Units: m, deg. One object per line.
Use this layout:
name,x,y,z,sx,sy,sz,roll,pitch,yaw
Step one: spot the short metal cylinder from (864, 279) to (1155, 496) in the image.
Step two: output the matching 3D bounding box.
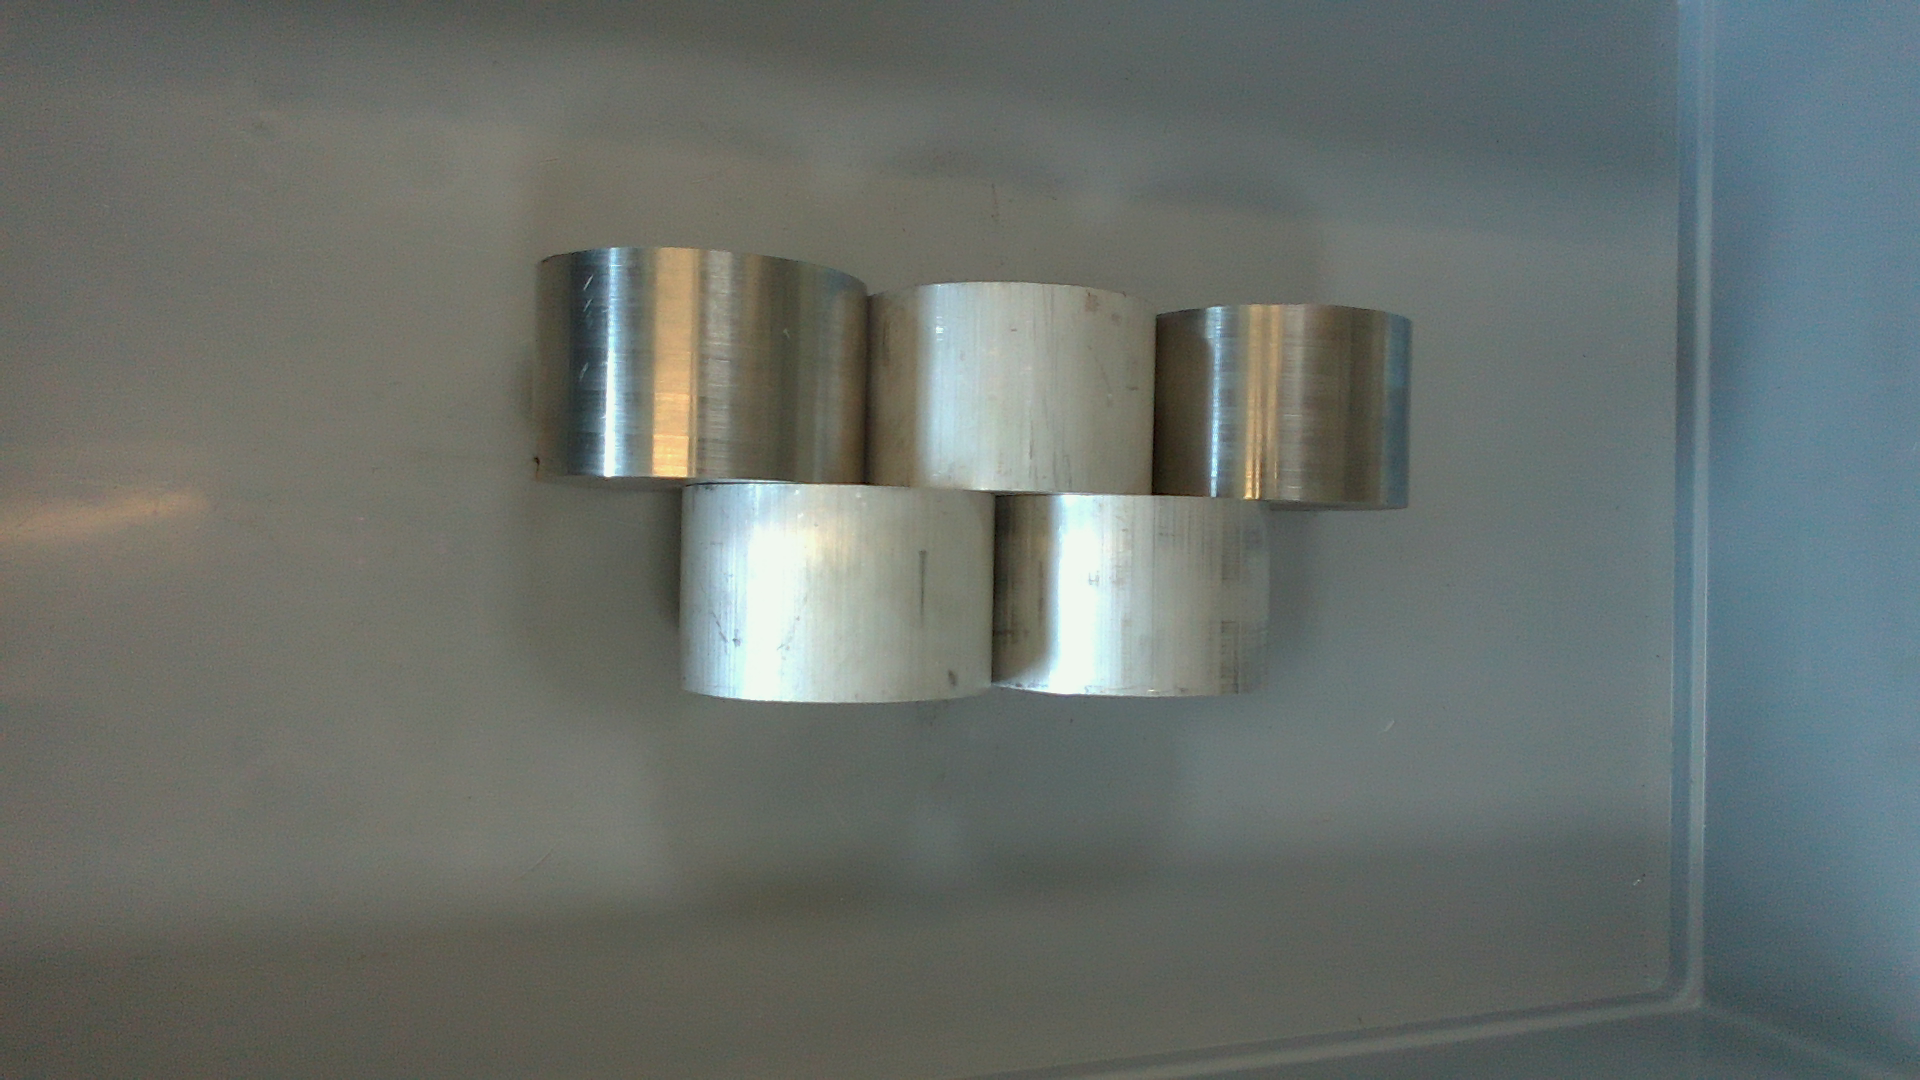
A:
short metal cylinder,0.012,-0.037,0.367,0.080,0.080,0.050,1,90,-20

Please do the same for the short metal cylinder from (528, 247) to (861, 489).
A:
short metal cylinder,-0.064,-0.039,0.339,0.080,0.080,0.050,1,90,-20

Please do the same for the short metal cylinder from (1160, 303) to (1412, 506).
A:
short metal cylinder,0.087,-0.036,0.395,0.080,0.080,0.050,2,90,-20

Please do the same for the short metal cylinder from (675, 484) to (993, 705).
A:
short metal cylinder,-0.032,0.012,0.351,0.080,0.080,0.050,1,90,-20

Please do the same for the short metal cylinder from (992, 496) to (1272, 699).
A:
short metal cylinder,0.045,0.014,0.379,0.080,0.080,0.050,1,90,-20
